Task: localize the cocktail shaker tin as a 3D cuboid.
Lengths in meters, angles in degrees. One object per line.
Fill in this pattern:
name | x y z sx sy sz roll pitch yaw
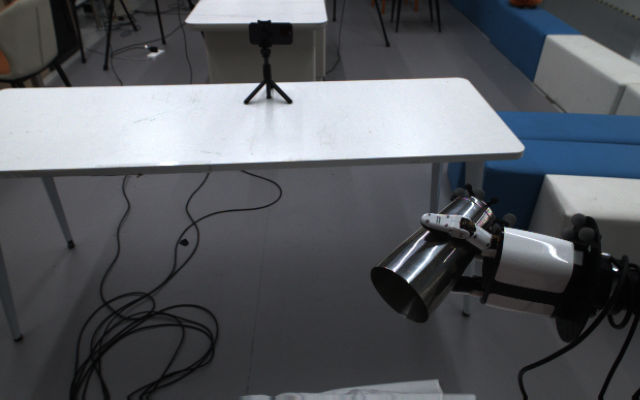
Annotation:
cocktail shaker tin | 0.156 0.064 0.637 0.170 0.093 0.093 -38 49 -23
